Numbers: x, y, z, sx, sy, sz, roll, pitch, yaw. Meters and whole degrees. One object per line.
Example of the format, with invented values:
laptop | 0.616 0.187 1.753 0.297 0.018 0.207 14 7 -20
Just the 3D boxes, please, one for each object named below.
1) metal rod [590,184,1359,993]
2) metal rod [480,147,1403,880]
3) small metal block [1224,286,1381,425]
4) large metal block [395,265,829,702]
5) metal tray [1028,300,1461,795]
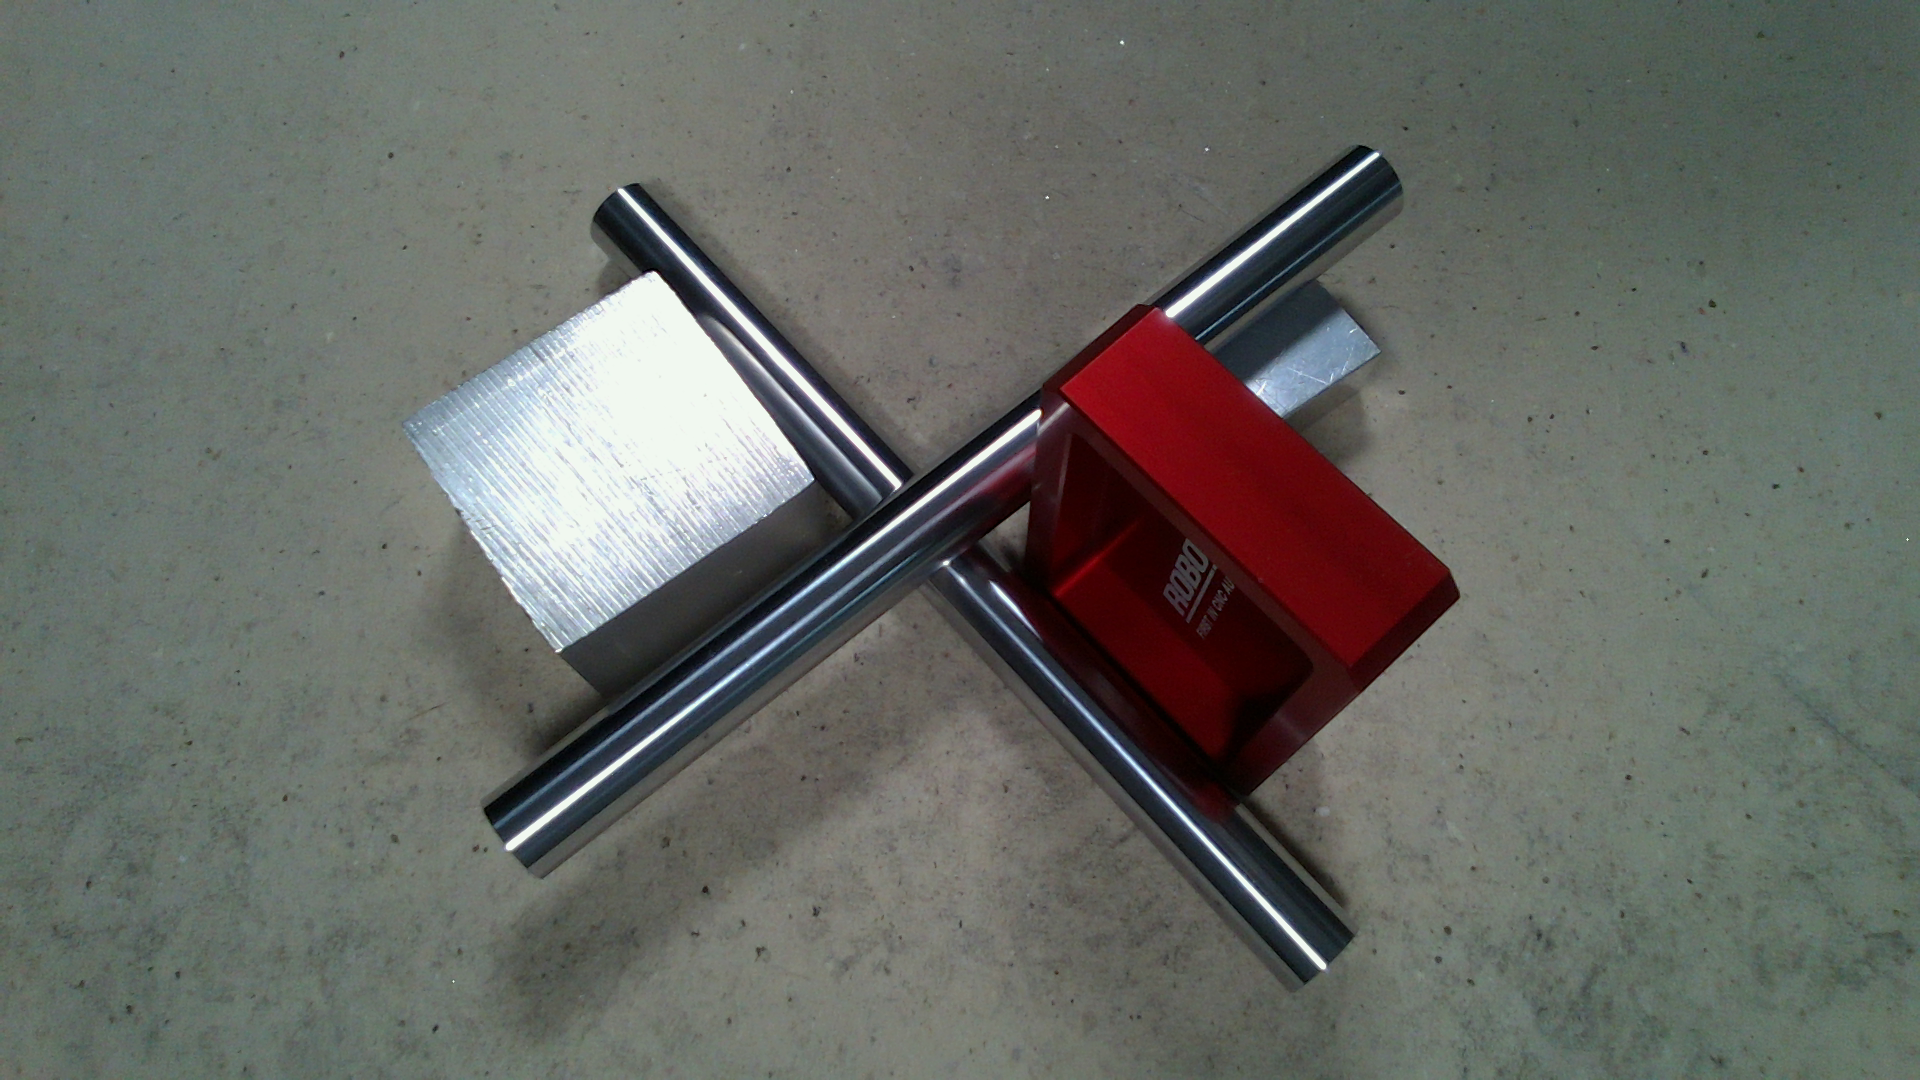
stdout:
metal rod | -0.006 0.003 0.394 0.025 0.025 0.300 -40 75 -13
metal rod | 0.005 -0.015 0.373 0.300 0.025 0.025 -38 74 -13
small metal block | 0.088 -0.057 0.415 0.050 0.025 0.050 -34 73 -12
large metal block | -0.094 -0.015 0.386 0.080 0.050 0.080 -35 74 -12
metal tray | 0.059 0.009 0.335 0.030 0.130 0.090 -41 74 -13
